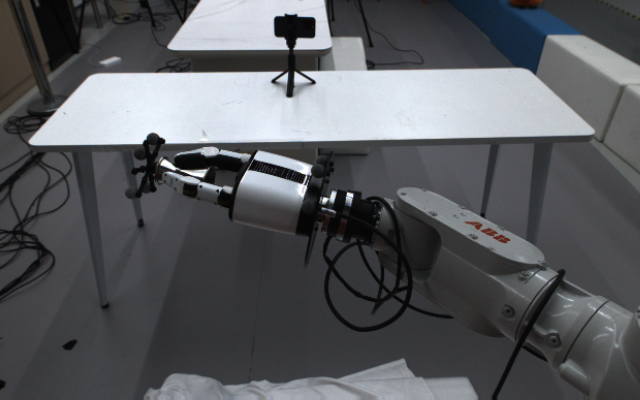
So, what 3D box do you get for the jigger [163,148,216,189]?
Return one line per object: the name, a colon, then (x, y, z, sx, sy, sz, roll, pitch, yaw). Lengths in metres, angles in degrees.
jigger: (-0.175, -0.033, 0.650, 0.071, 0.043, 0.043, 14, 36, 4)
